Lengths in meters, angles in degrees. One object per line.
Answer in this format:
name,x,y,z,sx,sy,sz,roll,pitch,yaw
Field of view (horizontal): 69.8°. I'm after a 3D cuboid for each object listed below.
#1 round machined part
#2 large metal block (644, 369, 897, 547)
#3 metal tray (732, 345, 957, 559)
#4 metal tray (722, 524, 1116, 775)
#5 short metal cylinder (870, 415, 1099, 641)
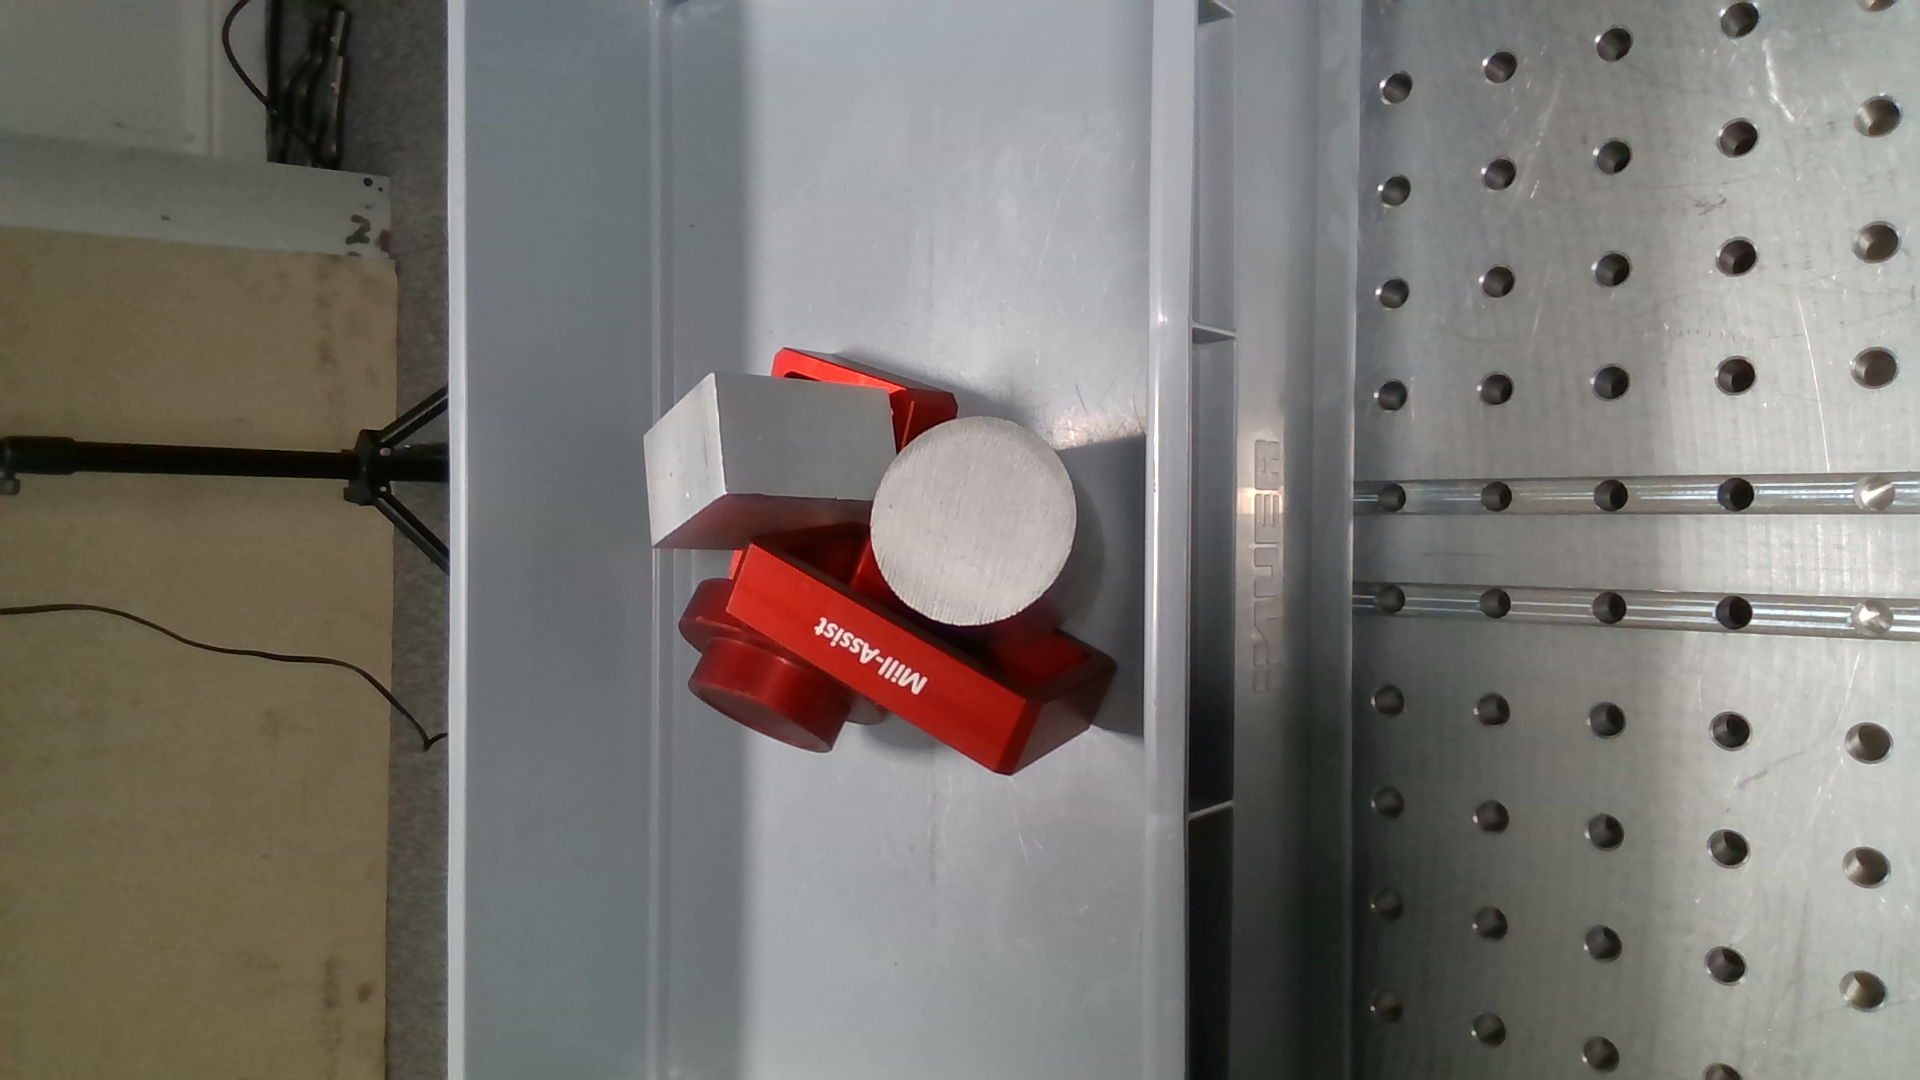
round machined part,-0.079,0.059,0.595,0.098,0.098,0.042,7,65,40
large metal block,-0.080,-0.031,0.582,0.080,0.080,0.050,-27,66,54
metal tray,-0.057,-0.015,0.624,0.090,0.030,0.130,22,104,38
metal tray,-0.015,0.037,0.530,0.130,0.090,0.030,28,105,20
short metal cylinder,0.011,-0.003,0.535,0.080,0.050,0.080,-3,78,17
